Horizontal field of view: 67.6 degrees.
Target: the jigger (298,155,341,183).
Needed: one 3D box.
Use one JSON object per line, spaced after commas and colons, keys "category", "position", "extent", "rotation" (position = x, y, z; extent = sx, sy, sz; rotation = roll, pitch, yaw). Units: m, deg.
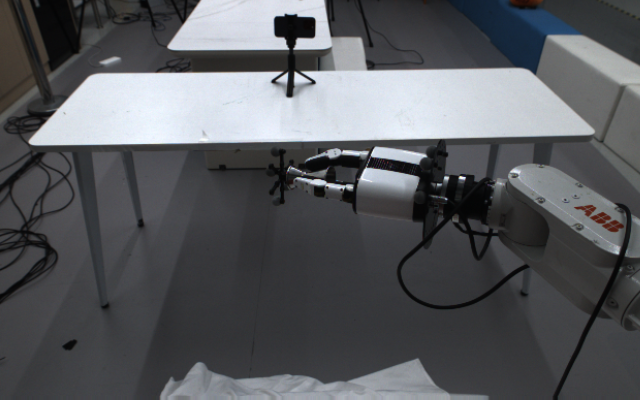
{"category": "jigger", "position": [-0.008, -0.037, 0.759], "extent": [0.071, 0.043, 0.043], "rotation": [4, 33, 22]}
